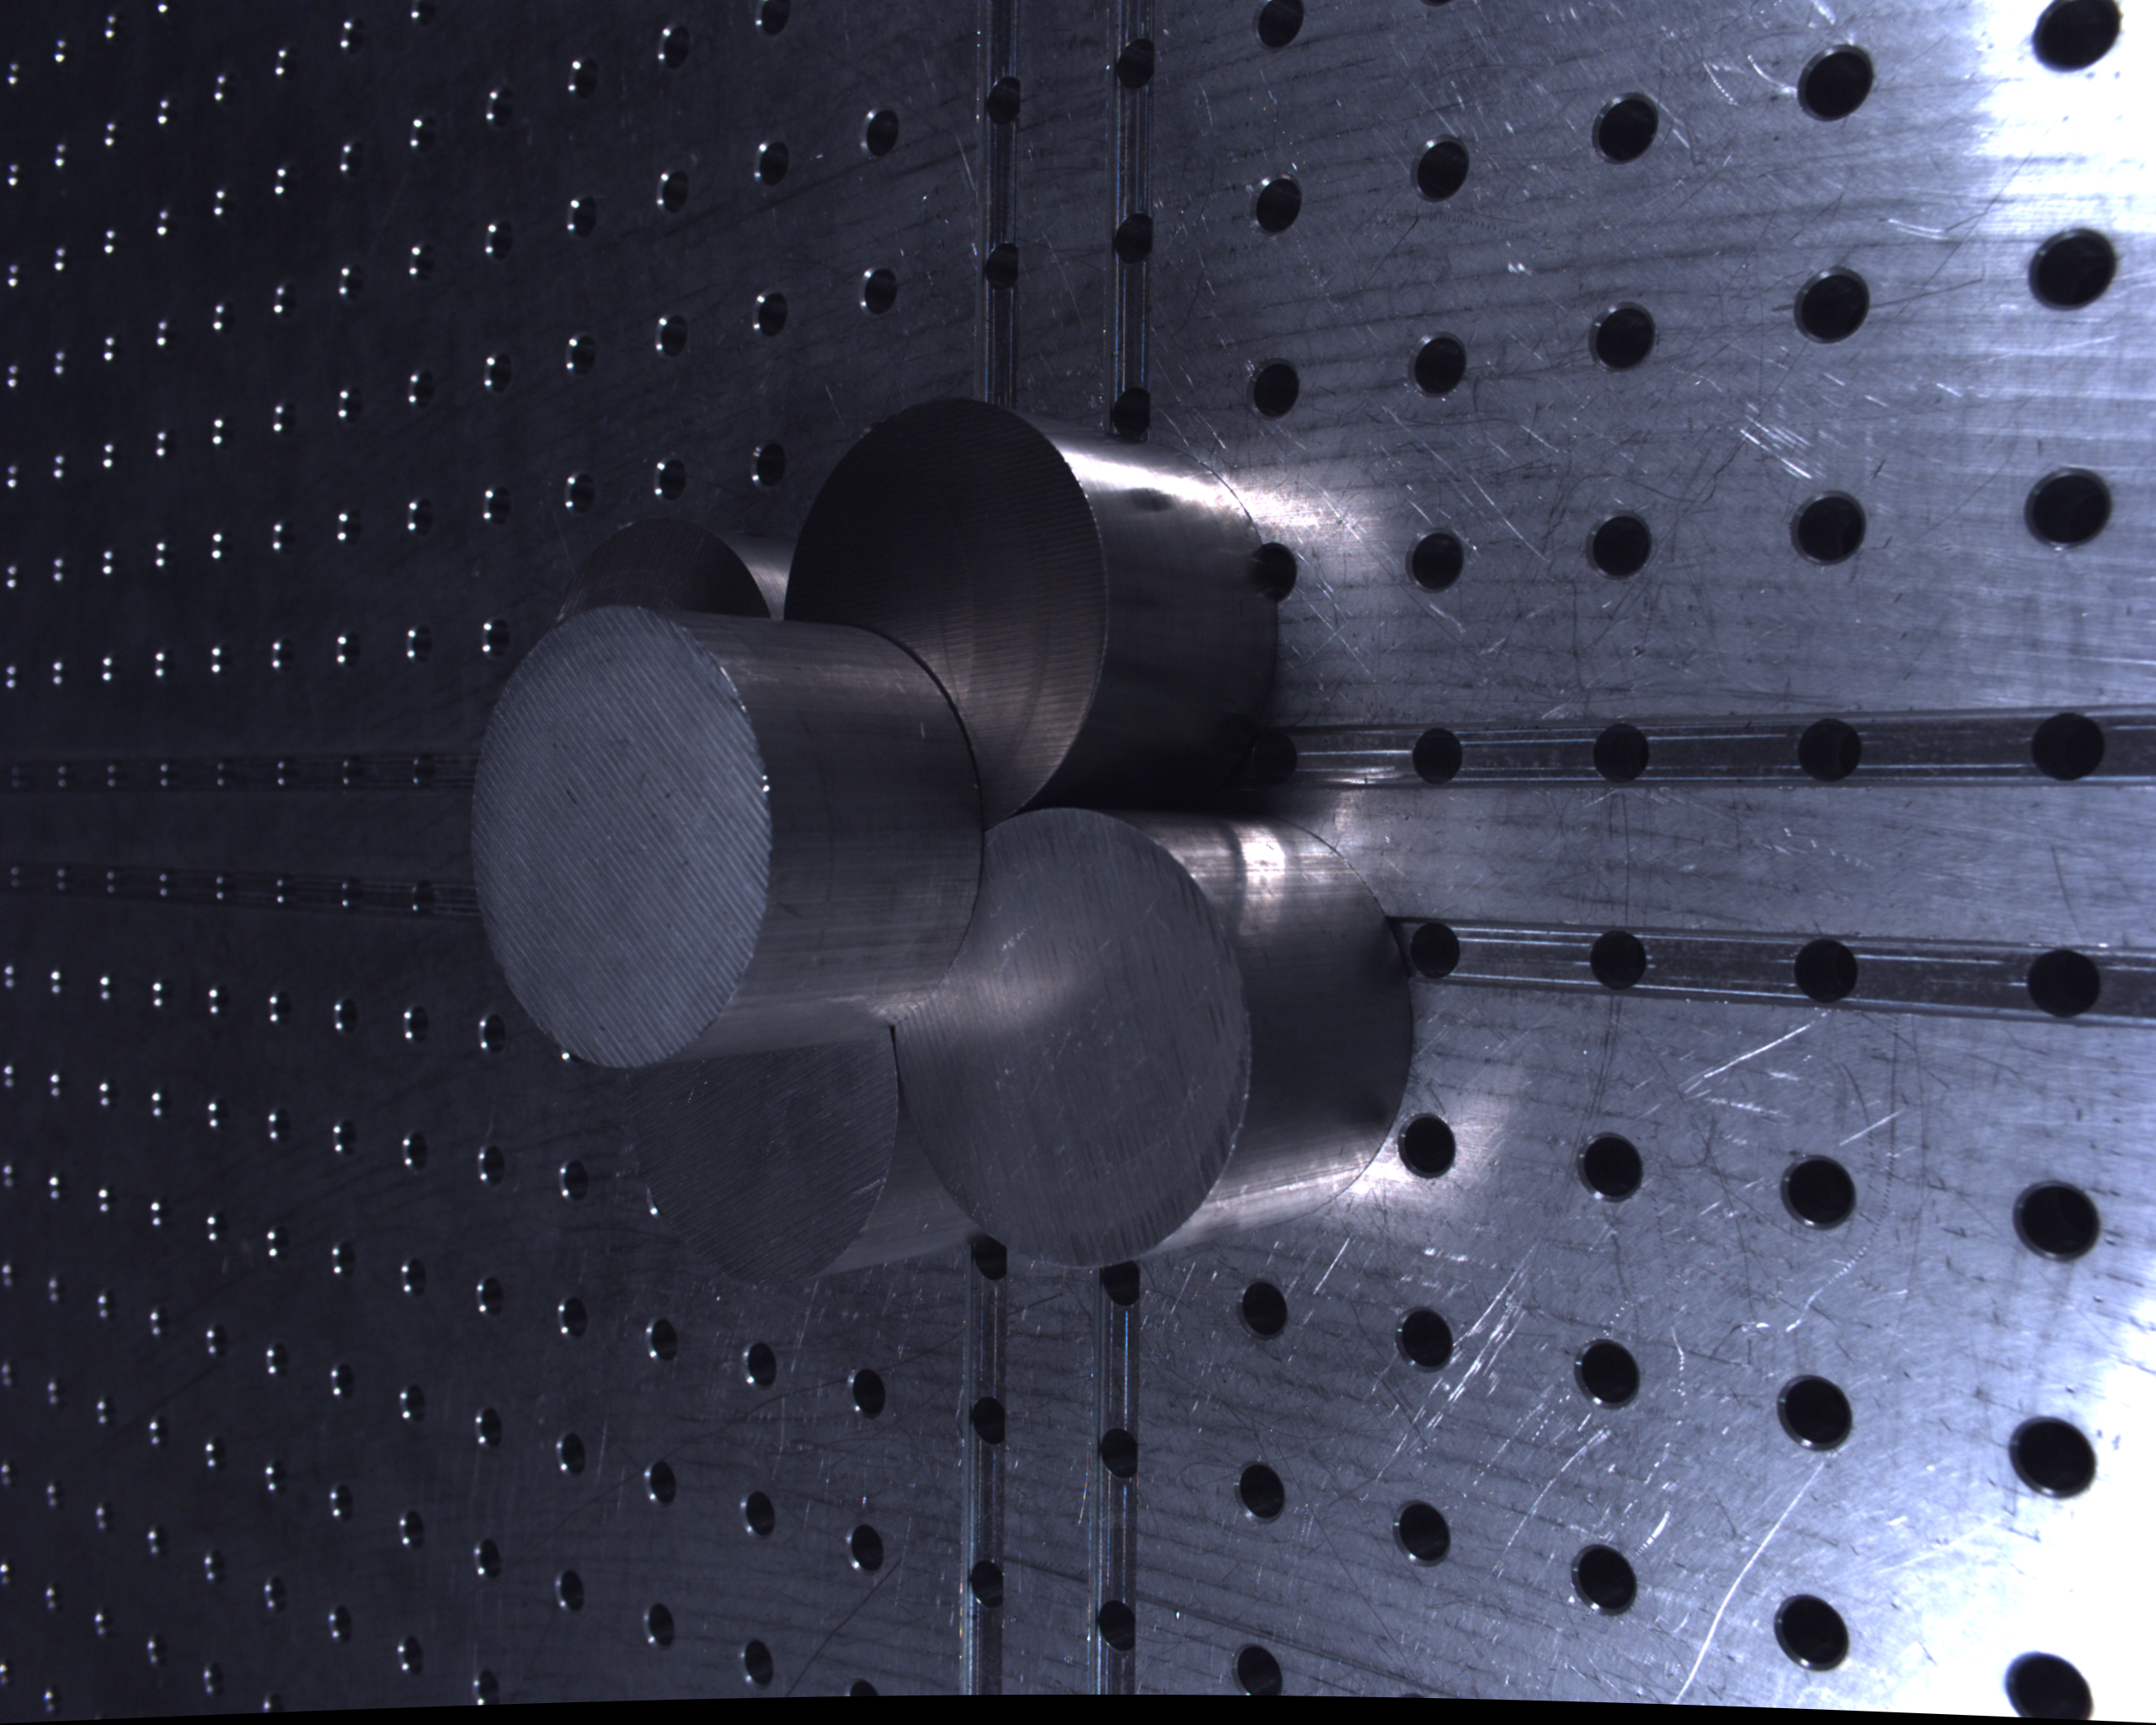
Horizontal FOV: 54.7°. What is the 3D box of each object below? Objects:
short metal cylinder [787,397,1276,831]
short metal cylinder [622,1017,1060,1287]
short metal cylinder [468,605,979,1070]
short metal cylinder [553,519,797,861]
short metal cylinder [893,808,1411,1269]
[{"bbox_3d":[-0.010,-0.045,0.398,0.080,0.050,0.079,0,90,39],"label":"short metal cylinder"},{"bbox_3d":[-0.048,0.043,0.430,0.080,0.050,0.079,0,90,39],"label":"short metal cylinder"},{"bbox_3d":[-0.065,-0.005,0.377,0.080,0.050,0.079,2,92,39],"label":"short metal cylinder"},{"bbox_3d":[-0.071,-0.031,0.449,0.080,0.050,0.079,0,90,39],"label":"short metal cylinder"},{"bbox_3d":[0.013,0.030,0.380,0.080,0.050,0.079,0,90,39],"label":"short metal cylinder"}]
